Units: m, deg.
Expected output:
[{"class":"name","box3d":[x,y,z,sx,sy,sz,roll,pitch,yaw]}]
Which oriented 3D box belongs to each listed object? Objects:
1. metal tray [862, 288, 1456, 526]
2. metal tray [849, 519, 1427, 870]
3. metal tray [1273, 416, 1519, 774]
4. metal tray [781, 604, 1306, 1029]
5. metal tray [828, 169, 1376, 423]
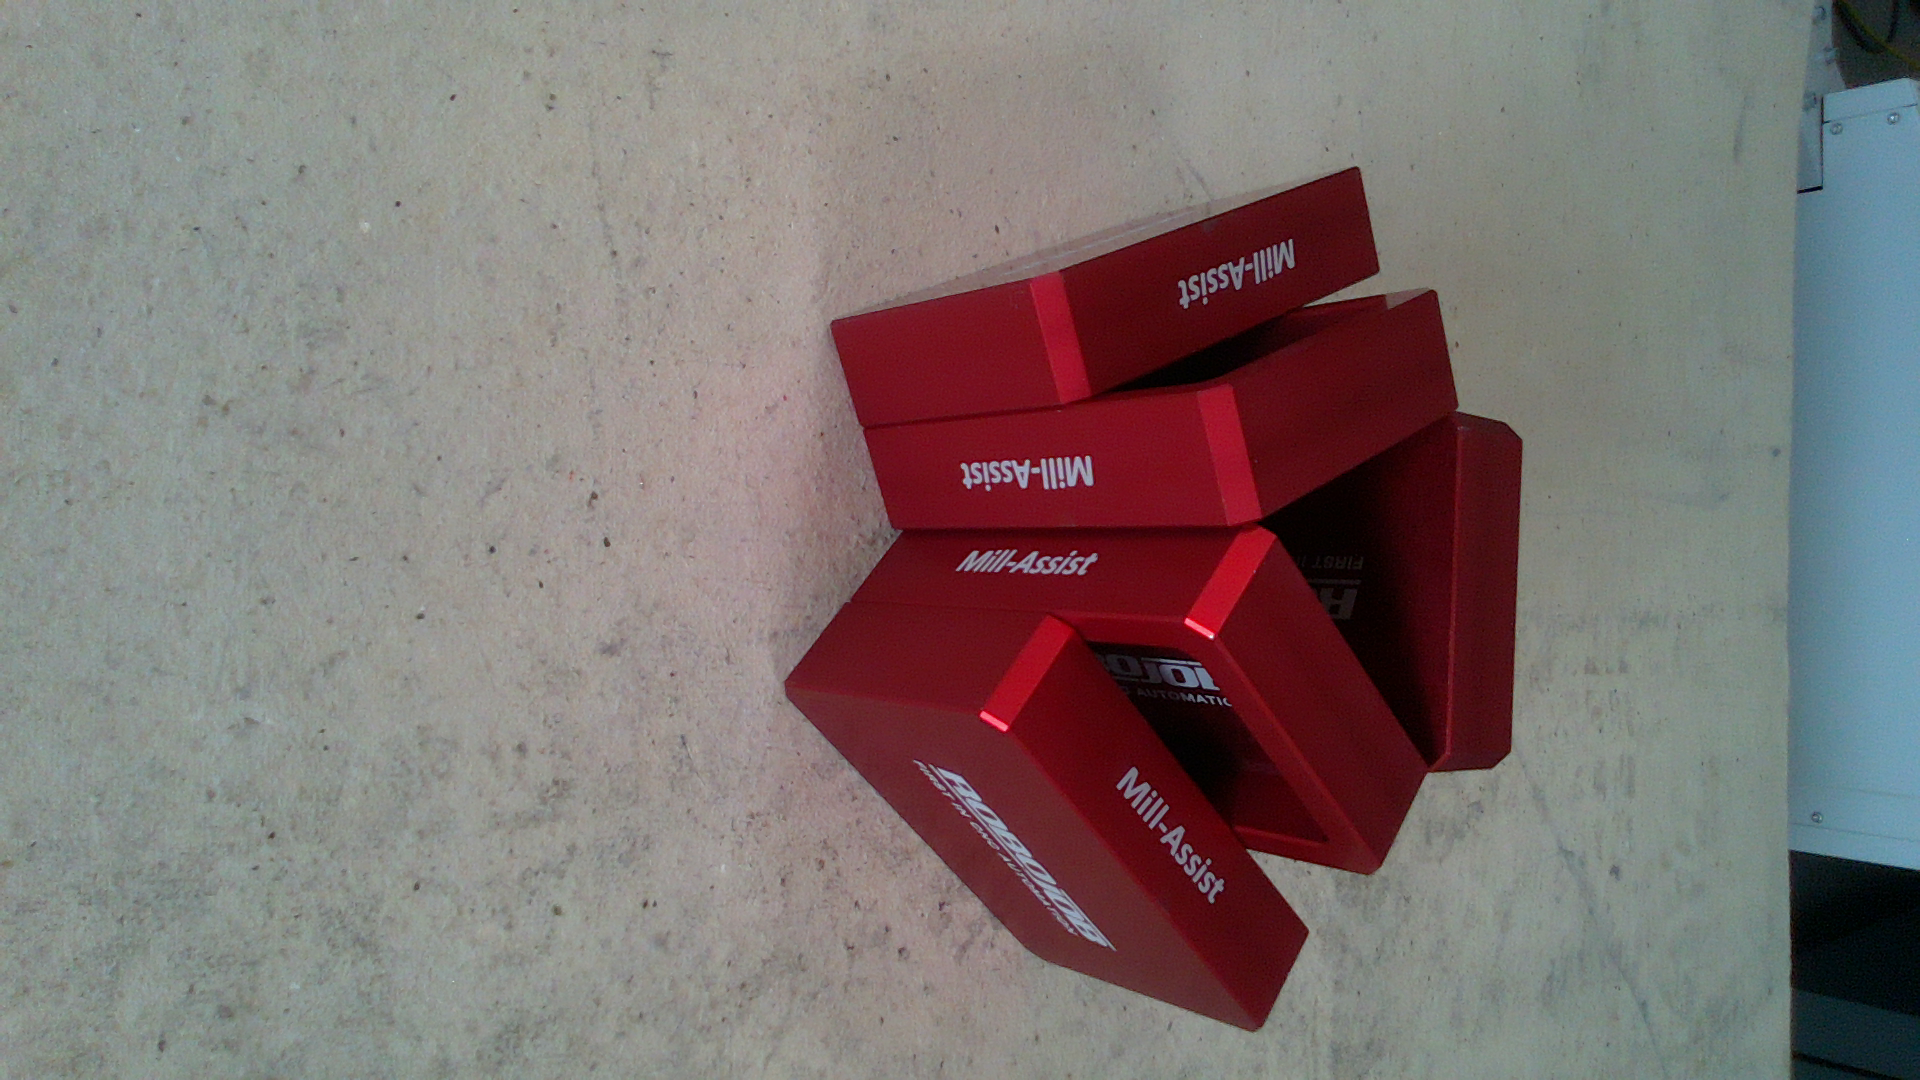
[{"class":"metal tray","box3d":[0.048,-0.033,0.360,0.090,0.129,0.030,-26,107,-37]},{"class":"metal tray","box3d":[0.041,0.037,0.355,0.090,0.129,0.030,51,60,-28]},{"class":"metal tray","box3d":[0.090,0.014,0.396,0.030,0.129,0.090,6,86,-40]},{"class":"metal tray","box3d":[0.022,0.072,0.365,0.130,0.090,0.030,51,60,-28]},{"class":"metal tray","box3d":[0.041,-0.068,0.380,0.130,0.090,0.030,-25,106,-37]}]
